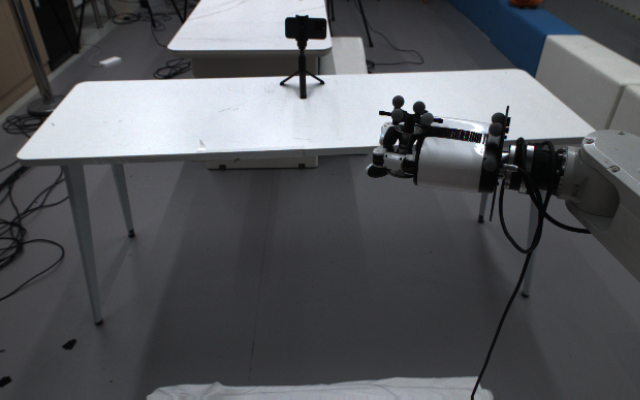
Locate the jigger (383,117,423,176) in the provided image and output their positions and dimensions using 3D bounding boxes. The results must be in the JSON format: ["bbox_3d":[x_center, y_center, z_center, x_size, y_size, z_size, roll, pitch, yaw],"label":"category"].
[{"bbox_3d":[0.123,-0.071,0.703,0.043,0.071,0.043,6,26,-3],"label":"jigger"}]
